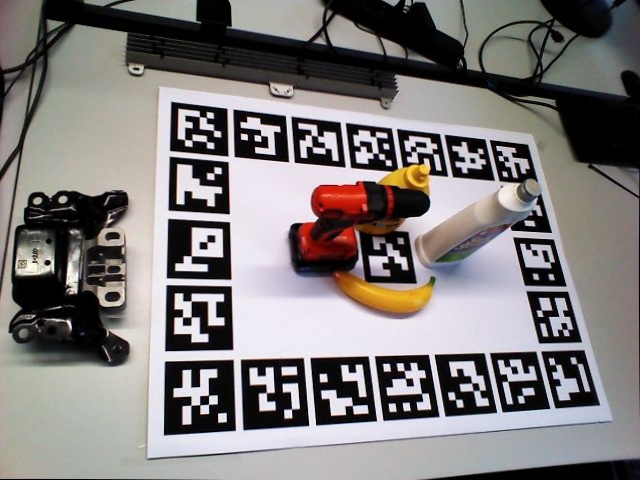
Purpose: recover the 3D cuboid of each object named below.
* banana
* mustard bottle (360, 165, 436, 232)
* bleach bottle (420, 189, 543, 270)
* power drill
[{"bbox_3d":[0.132,0.087,0.881,0.197,0.039,0.074,6,72,-16],"label":"banana"},{"bbox_3d":[0.143,-0.073,0.864,0.096,0.193,0.058,4,67,-20],"label":"mustard bottle"},{"bbox_3d":[0.276,-0.019,0.867,0.102,0.252,0.067,-5,72,-22],"label":"bleach bottle"},{"bbox_3d":[0.057,-0.029,0.793,0.184,0.188,0.057,1,62,-23],"label":"power drill"}]
